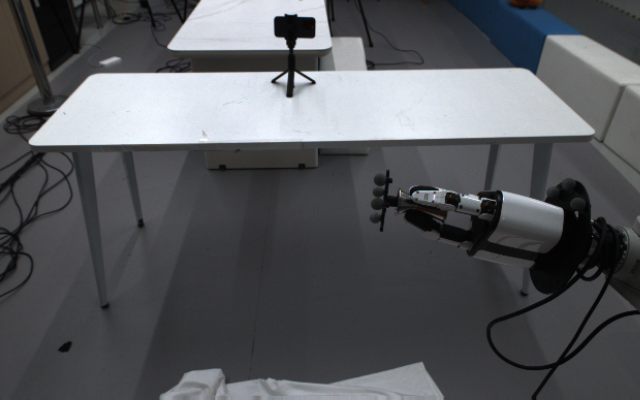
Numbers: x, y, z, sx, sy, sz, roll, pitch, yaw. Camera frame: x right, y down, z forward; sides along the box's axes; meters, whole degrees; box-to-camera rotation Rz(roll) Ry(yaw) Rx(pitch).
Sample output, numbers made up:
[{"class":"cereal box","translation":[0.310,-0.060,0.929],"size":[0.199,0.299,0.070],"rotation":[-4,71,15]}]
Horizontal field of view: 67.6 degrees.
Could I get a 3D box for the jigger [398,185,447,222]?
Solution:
[{"class":"jigger","translation":[0.149,0.001,0.683],"size":[0.071,0.043,0.043],"rotation":[5,35,4]}]
